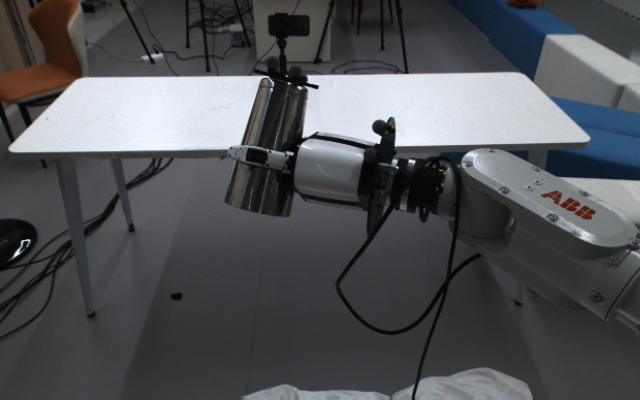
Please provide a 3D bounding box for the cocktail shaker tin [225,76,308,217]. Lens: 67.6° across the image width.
[{"bbox_3d":[-0.066,-0.071,0.652,0.093,0.170,0.093,13,5,-1],"label":"cocktail shaker tin"}]
